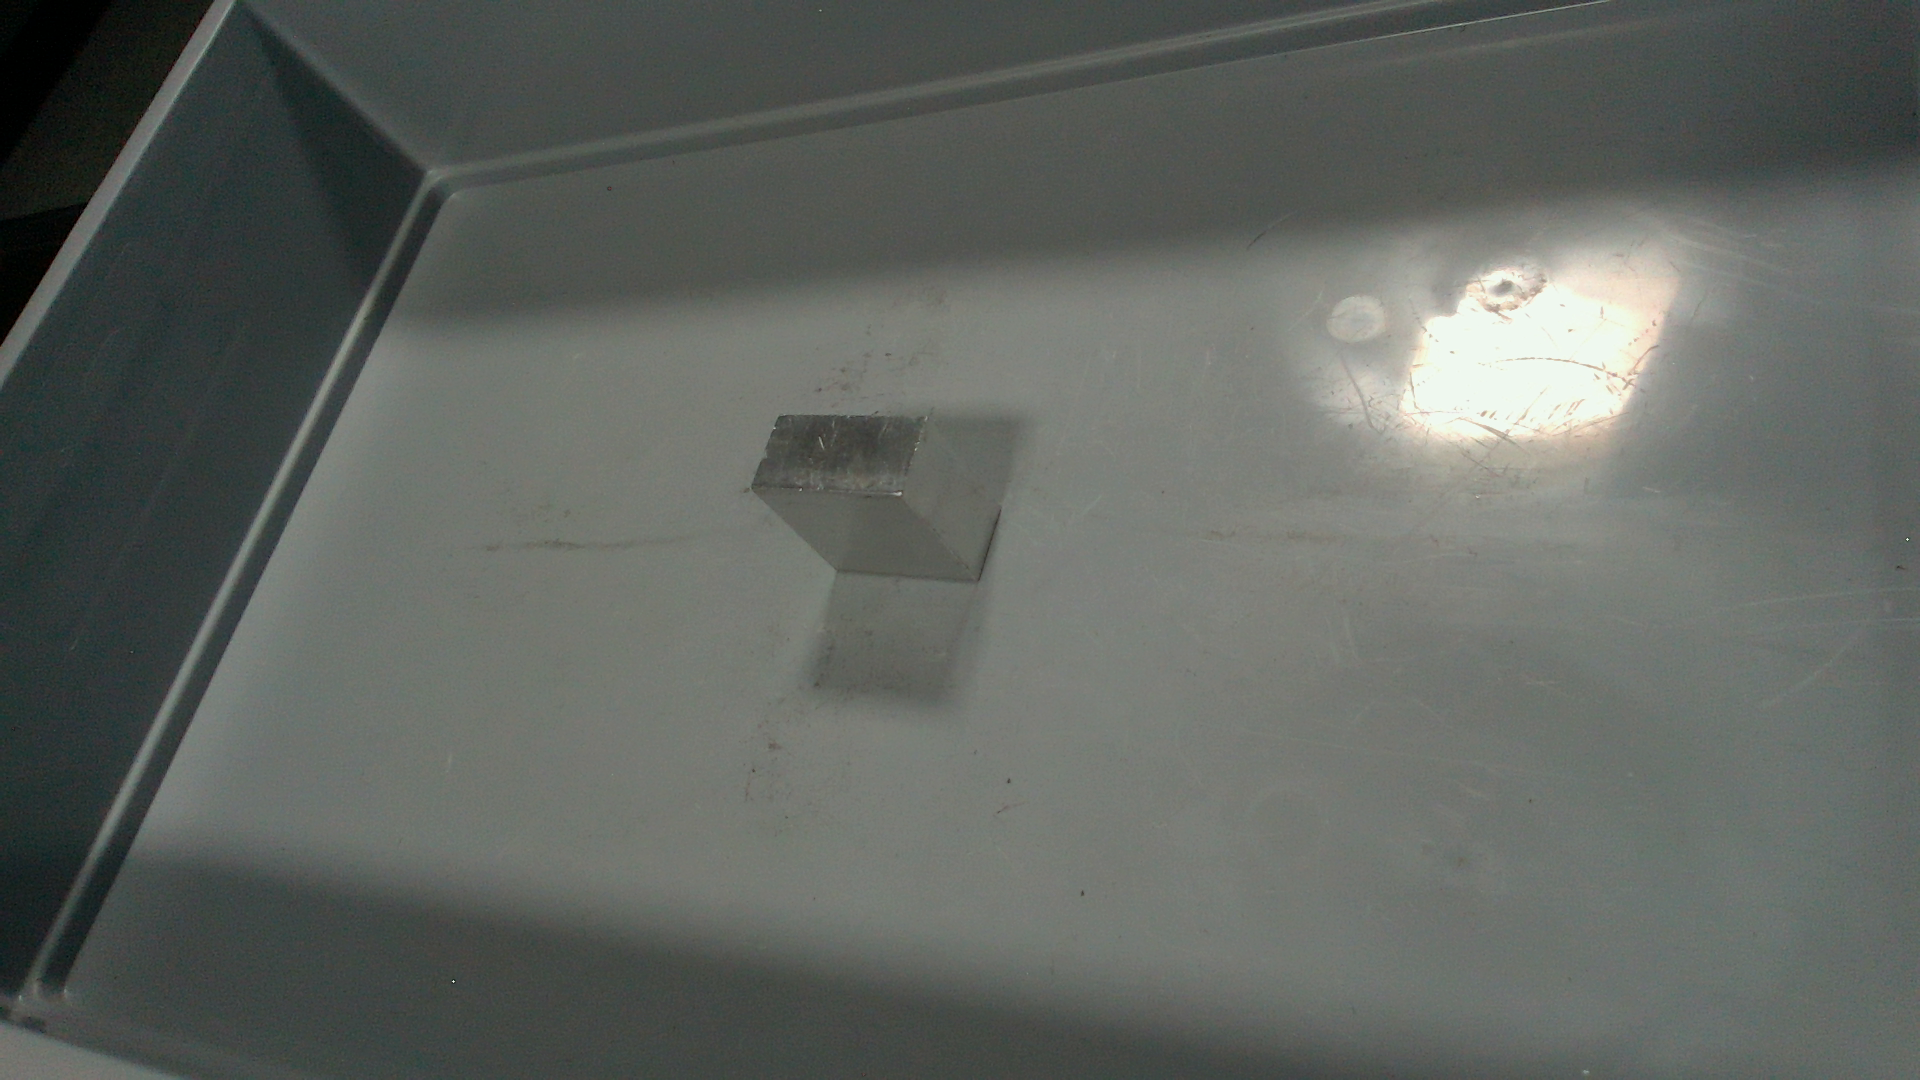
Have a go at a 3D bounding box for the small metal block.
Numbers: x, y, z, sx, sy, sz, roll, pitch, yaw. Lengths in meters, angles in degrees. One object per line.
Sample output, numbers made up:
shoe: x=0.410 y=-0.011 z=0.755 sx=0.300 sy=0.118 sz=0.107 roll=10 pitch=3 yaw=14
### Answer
small metal block: x=-0.023 y=-0.012 z=0.394 sx=0.050 sy=0.050 sz=0.025 roll=3 pitch=63 yaw=30
